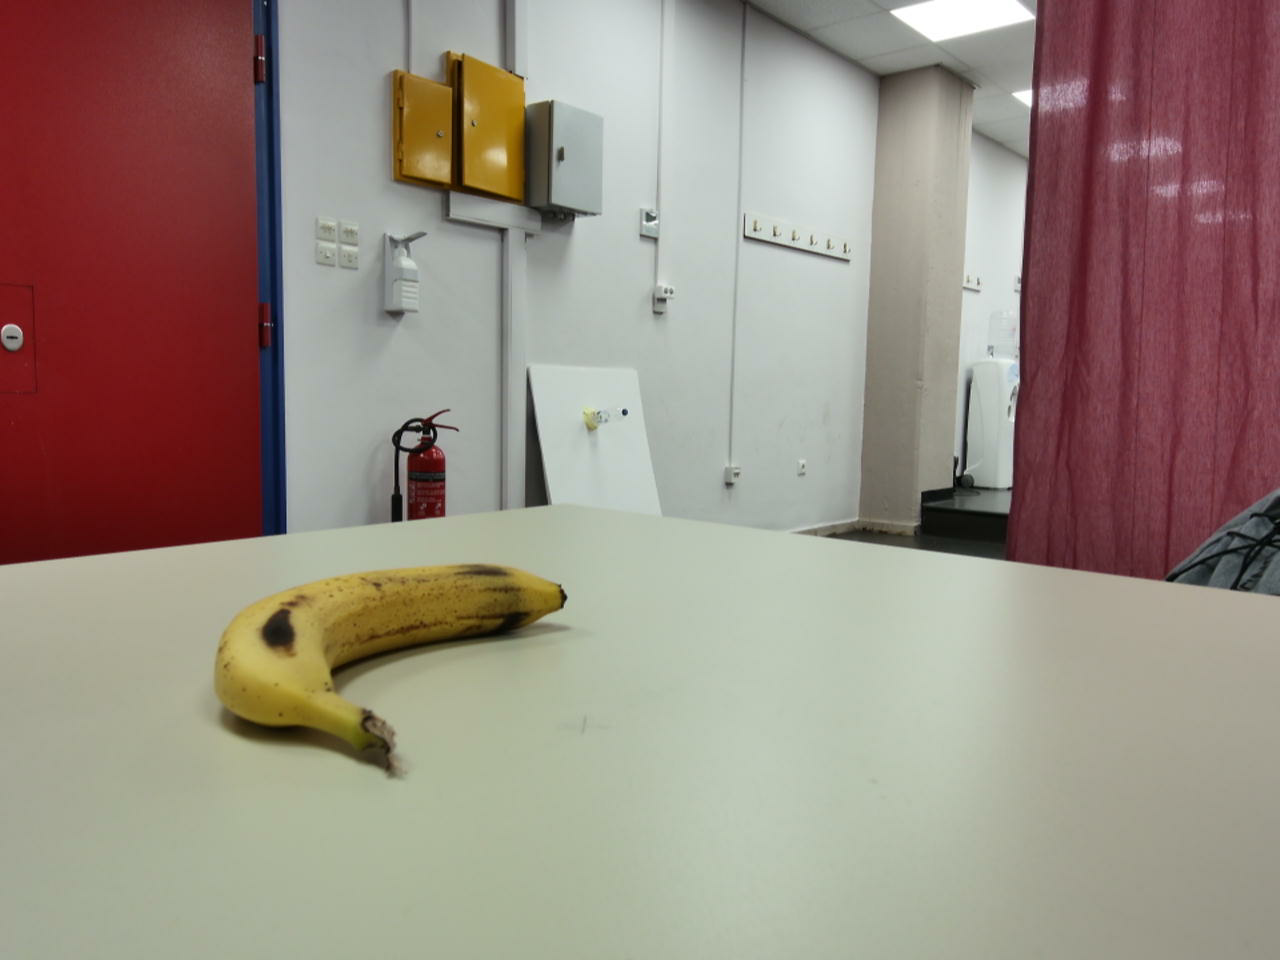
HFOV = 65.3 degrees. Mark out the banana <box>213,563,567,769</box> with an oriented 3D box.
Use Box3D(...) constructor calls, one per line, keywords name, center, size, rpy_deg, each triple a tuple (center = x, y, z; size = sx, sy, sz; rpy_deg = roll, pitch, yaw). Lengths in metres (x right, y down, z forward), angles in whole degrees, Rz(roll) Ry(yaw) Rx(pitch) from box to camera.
Box3D(name="banana", center=(-0.103, 0.061, 0.405), size=(0.097, 0.038, 0.186), rpy_deg=(1, 4, 12))
